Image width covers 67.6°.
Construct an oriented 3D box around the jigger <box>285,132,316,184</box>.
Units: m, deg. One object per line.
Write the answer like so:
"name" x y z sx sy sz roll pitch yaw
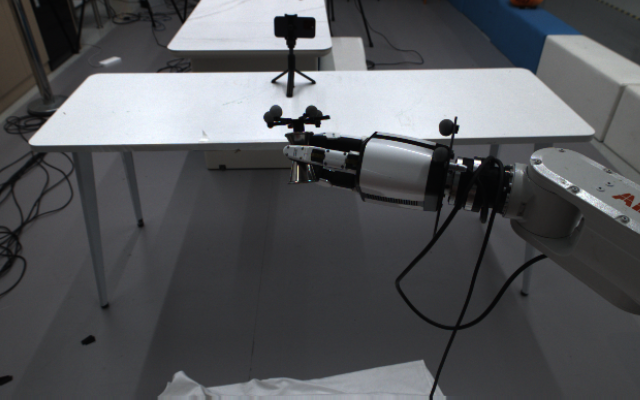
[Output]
"jigger" -0.026 -0.057 0.662 0.043 0.071 0.043 -4 1 0
